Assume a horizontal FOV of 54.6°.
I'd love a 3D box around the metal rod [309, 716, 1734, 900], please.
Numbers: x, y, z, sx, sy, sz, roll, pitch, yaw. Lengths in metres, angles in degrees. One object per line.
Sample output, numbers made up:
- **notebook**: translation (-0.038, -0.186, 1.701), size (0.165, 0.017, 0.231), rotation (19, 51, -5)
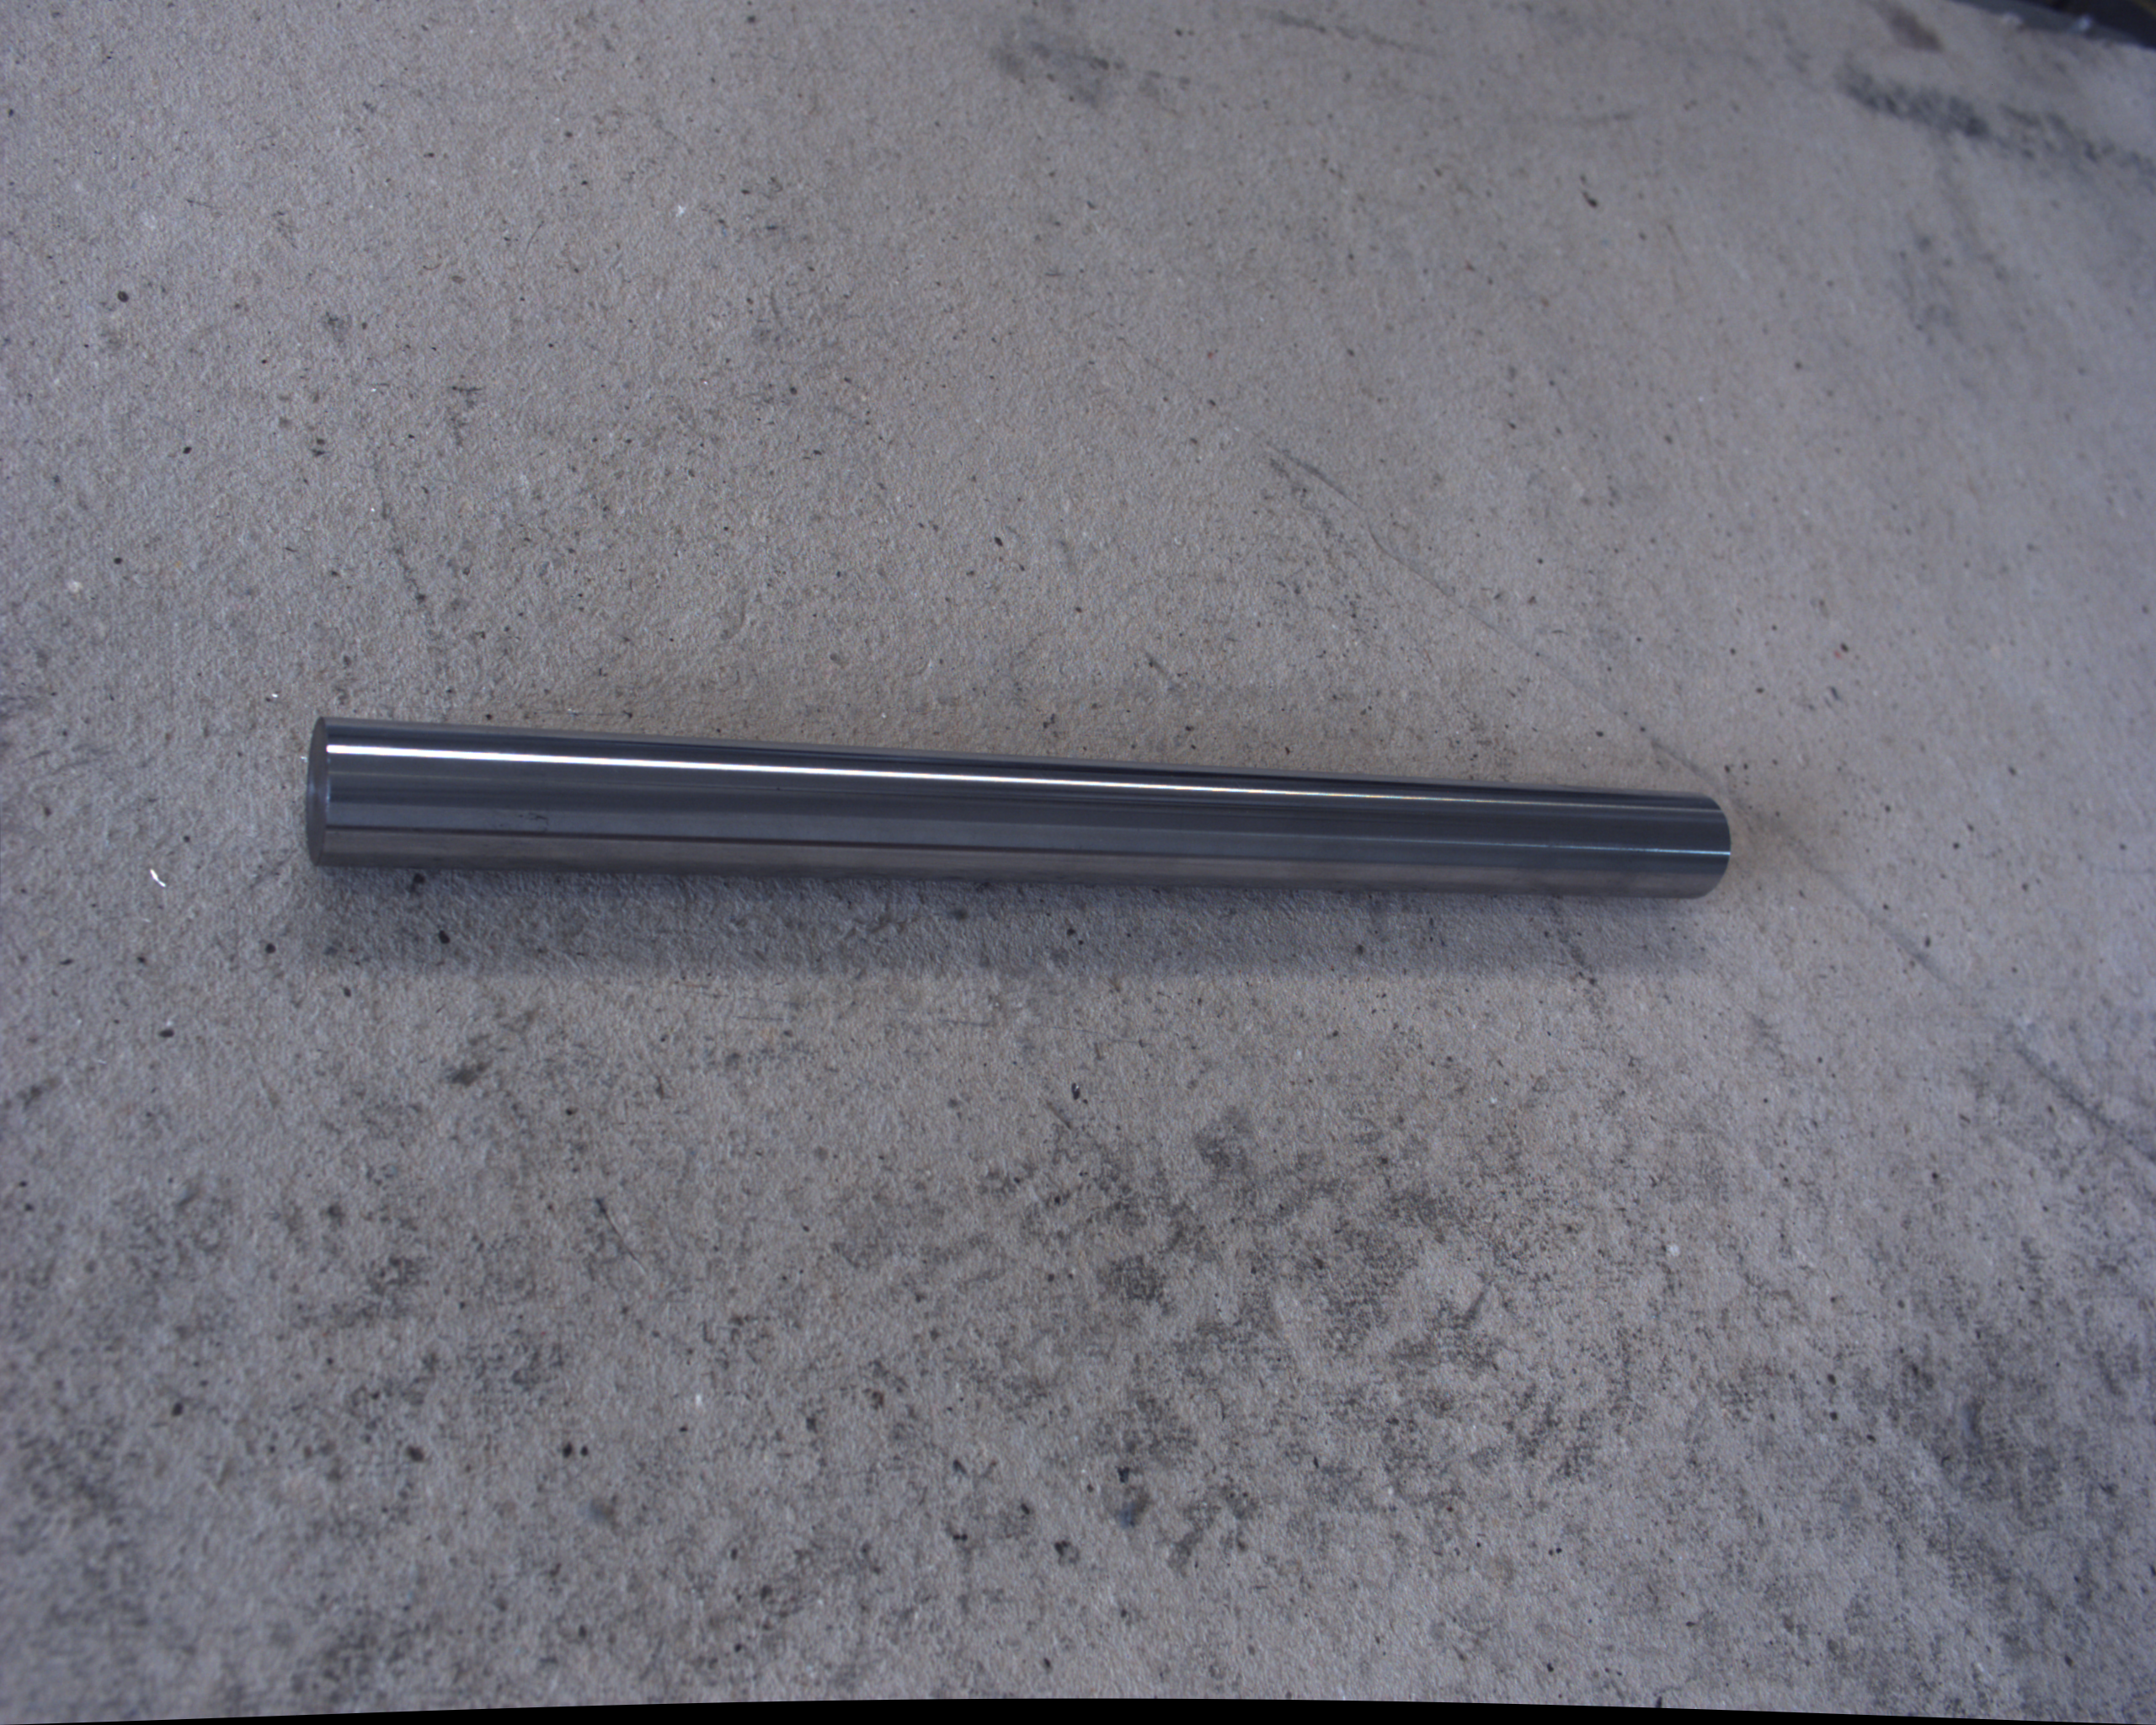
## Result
- **metal rod**: translation (0.009, -0.008, 0.414), size (0.302, 0.025, 0.025), rotation (2, 61, -27)
